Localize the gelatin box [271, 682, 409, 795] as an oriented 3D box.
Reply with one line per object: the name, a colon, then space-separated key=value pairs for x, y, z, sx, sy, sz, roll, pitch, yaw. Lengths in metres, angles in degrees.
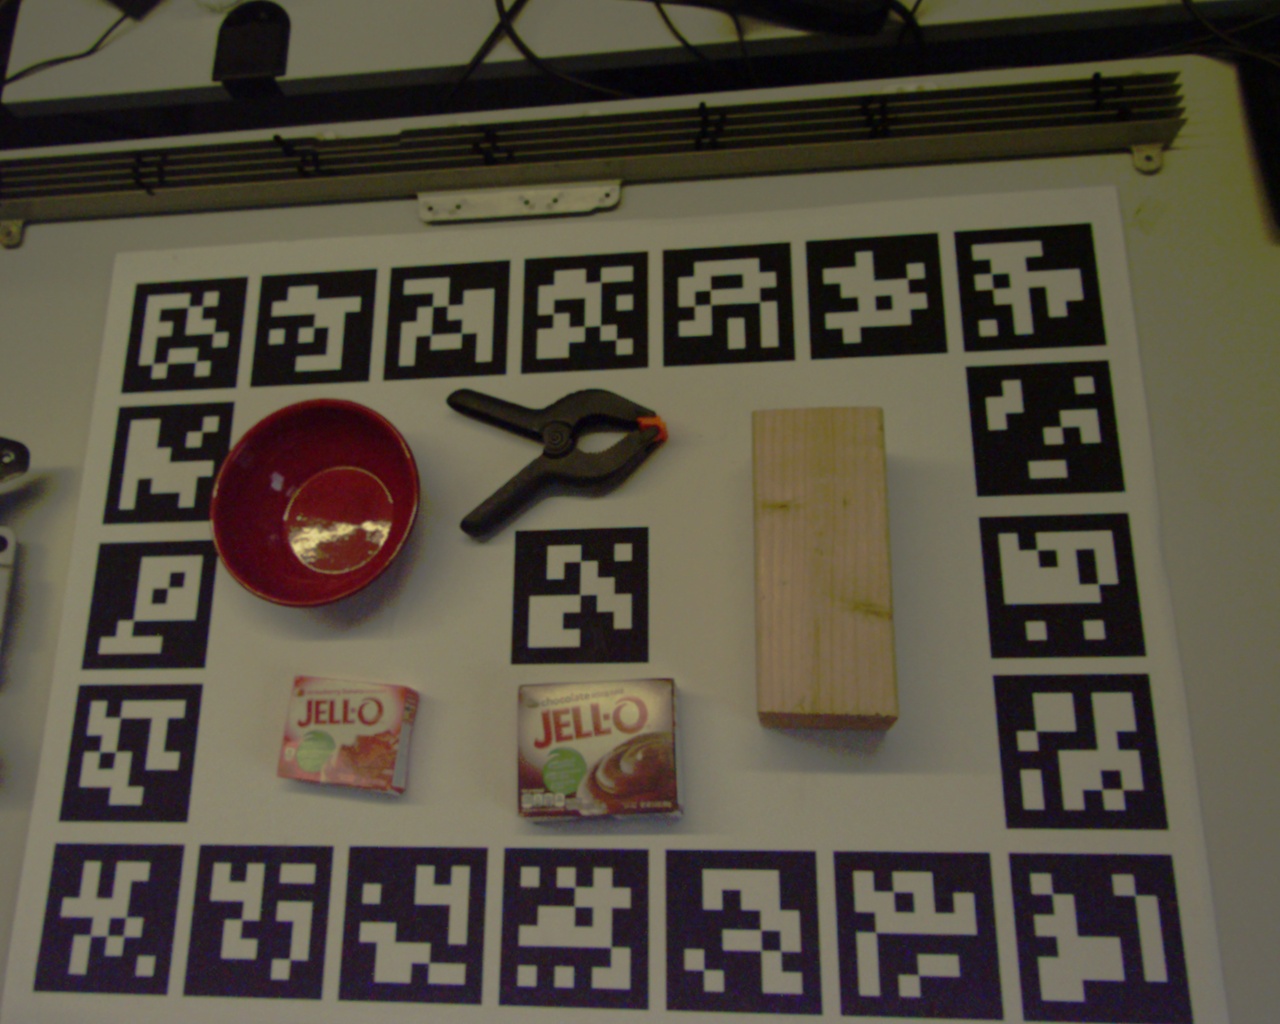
gelatin box: x=-0.224 y=0.168 z=0.851 sx=0.090 sy=0.030 sz=0.073 roll=6 pitch=76 yaw=10

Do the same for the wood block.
wood block: x=0.116 y=0.049 z=0.807 sx=0.090 sy=0.090 sz=0.206 roll=1 pitch=74 yaw=7

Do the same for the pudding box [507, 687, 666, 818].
pudding box: x=-0.039 y=0.173 z=0.821 sx=0.114 sy=0.038 sz=0.090 roll=-3 pitch=77 yaw=9

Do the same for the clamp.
clamp: x=-0.088 y=-0.040 z=0.899 sx=0.165 sy=0.036 sz=0.122 roll=-12 pitch=72 yaw=2

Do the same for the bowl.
bowl: x=-0.249 y=0.003 z=0.898 sx=0.162 sy=0.055 sz=0.162 roll=-2 pitch=76 yaw=6
